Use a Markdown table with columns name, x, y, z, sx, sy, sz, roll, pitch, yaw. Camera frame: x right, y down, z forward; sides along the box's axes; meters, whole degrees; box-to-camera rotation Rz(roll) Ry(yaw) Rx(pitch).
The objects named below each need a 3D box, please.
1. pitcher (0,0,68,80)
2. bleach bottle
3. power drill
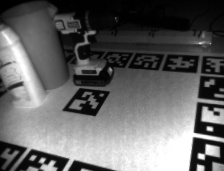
| name | x | y | z | sx | sy | sz | roll | pitch | yaw |
| --- | --- | --- | --- | --- | --- | --- | --- | --- | --- |
| pitcher | -0.231 | -0.136 | 0.653 | 0.189 | 0.244 | 0.132 | -14 | 40 | -1 |
| bleach bottle | -0.276 | -0.086 | 0.572 | 0.102 | 0.253 | 0.068 | -2 | 41 | 14 |
| power drill | -0.066 | -0.129 | 0.618 | 0.183 | 0.188 | 0.057 | 4 | 45 | 11 |
